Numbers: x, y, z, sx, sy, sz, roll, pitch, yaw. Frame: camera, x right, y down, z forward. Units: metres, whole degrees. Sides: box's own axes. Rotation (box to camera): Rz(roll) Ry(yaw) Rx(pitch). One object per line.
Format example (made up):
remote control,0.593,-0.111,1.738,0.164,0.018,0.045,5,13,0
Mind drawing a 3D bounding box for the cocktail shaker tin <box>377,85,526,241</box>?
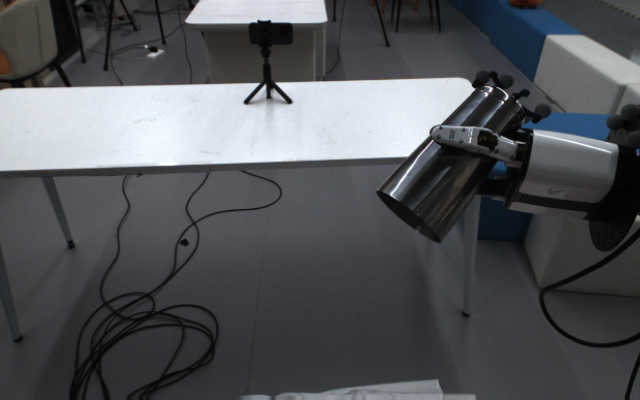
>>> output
cocktail shaker tin,0.155,-0.049,0.553,0.170,0.093,0.093,-48,49,-3
